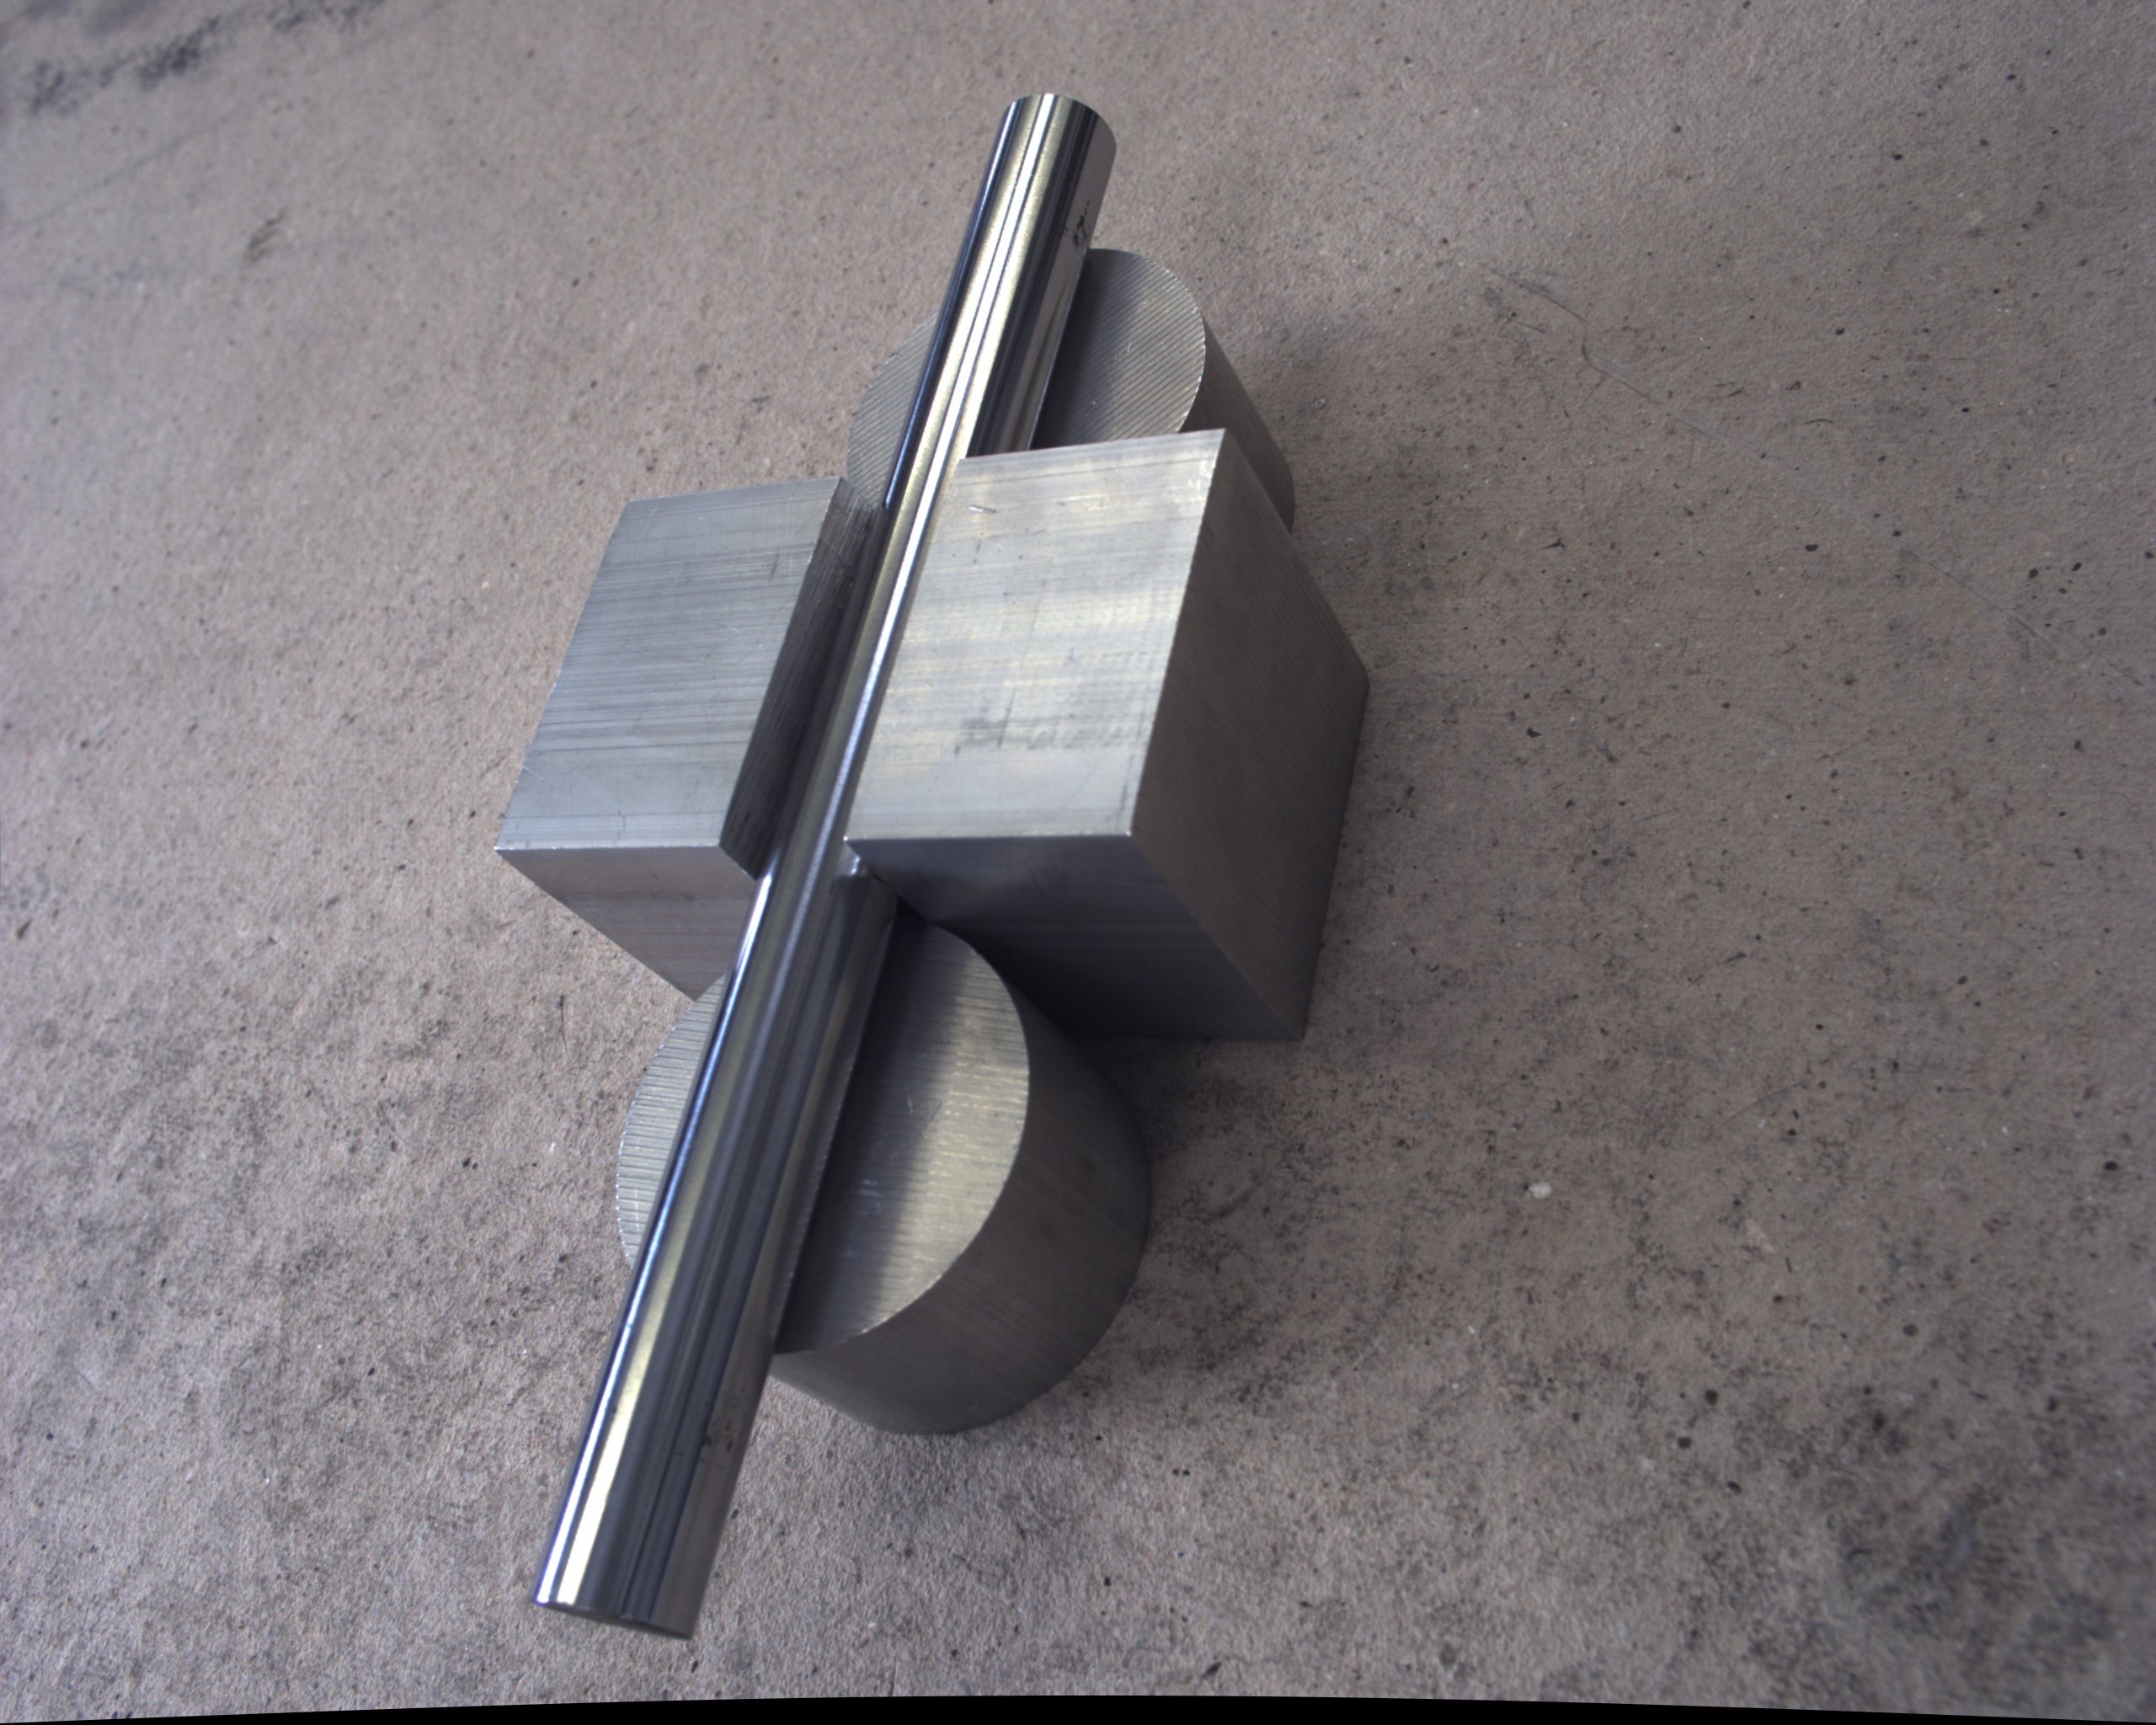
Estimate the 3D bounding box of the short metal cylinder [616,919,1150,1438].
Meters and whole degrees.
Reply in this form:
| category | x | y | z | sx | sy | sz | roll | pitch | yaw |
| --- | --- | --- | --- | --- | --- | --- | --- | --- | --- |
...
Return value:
| category | x | y | z | sx | sy | sz | roll | pitch | yaw |
| --- | --- | --- | --- | --- | --- | --- | --- | --- | --- |
| short metal cylinder | -0.034 | 0.056 | 0.373 | 0.080 | 0.050 | 0.080 | -13 | 56 | 20 |

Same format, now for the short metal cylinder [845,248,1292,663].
| category | x | y | z | sx | sy | sz | roll | pitch | yaw |
| --- | --- | --- | --- | --- | --- | --- | --- | --- | --- |
| short metal cylinder | -0.001 | -0.082 | 0.440 | 0.080 | 0.050 | 0.080 | -13 | 56 | 20 |

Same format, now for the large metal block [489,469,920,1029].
| category | x | y | z | sx | sy | sz | roll | pitch | yaw |
| --- | --- | --- | --- | --- | --- | --- | --- | --- | --- |
| large metal block | -0.058 | -0.019 | 0.412 | 0.050 | 0.080 | 0.080 | -1 | 61 | 28 |

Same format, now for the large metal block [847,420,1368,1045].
| category | x | y | z | sx | sy | sz | roll | pitch | yaw |
| --- | --- | --- | --- | --- | --- | --- | --- | --- | --- |
| large metal block | 0.010 | -0.021 | 0.377 | 0.050 | 0.080 | 0.080 | -1 | 61 | 28 |

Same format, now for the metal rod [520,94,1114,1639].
| category | x | y | z | sx | sy | sz | roll | pitch | yaw |
| --- | --- | --- | --- | --- | --- | --- | --- | --- | --- |
| metal rod | -0.037 | -0.020 | 0.372 | 0.025 | 0.025 | 0.300 | 0 | 61 | 28 |
